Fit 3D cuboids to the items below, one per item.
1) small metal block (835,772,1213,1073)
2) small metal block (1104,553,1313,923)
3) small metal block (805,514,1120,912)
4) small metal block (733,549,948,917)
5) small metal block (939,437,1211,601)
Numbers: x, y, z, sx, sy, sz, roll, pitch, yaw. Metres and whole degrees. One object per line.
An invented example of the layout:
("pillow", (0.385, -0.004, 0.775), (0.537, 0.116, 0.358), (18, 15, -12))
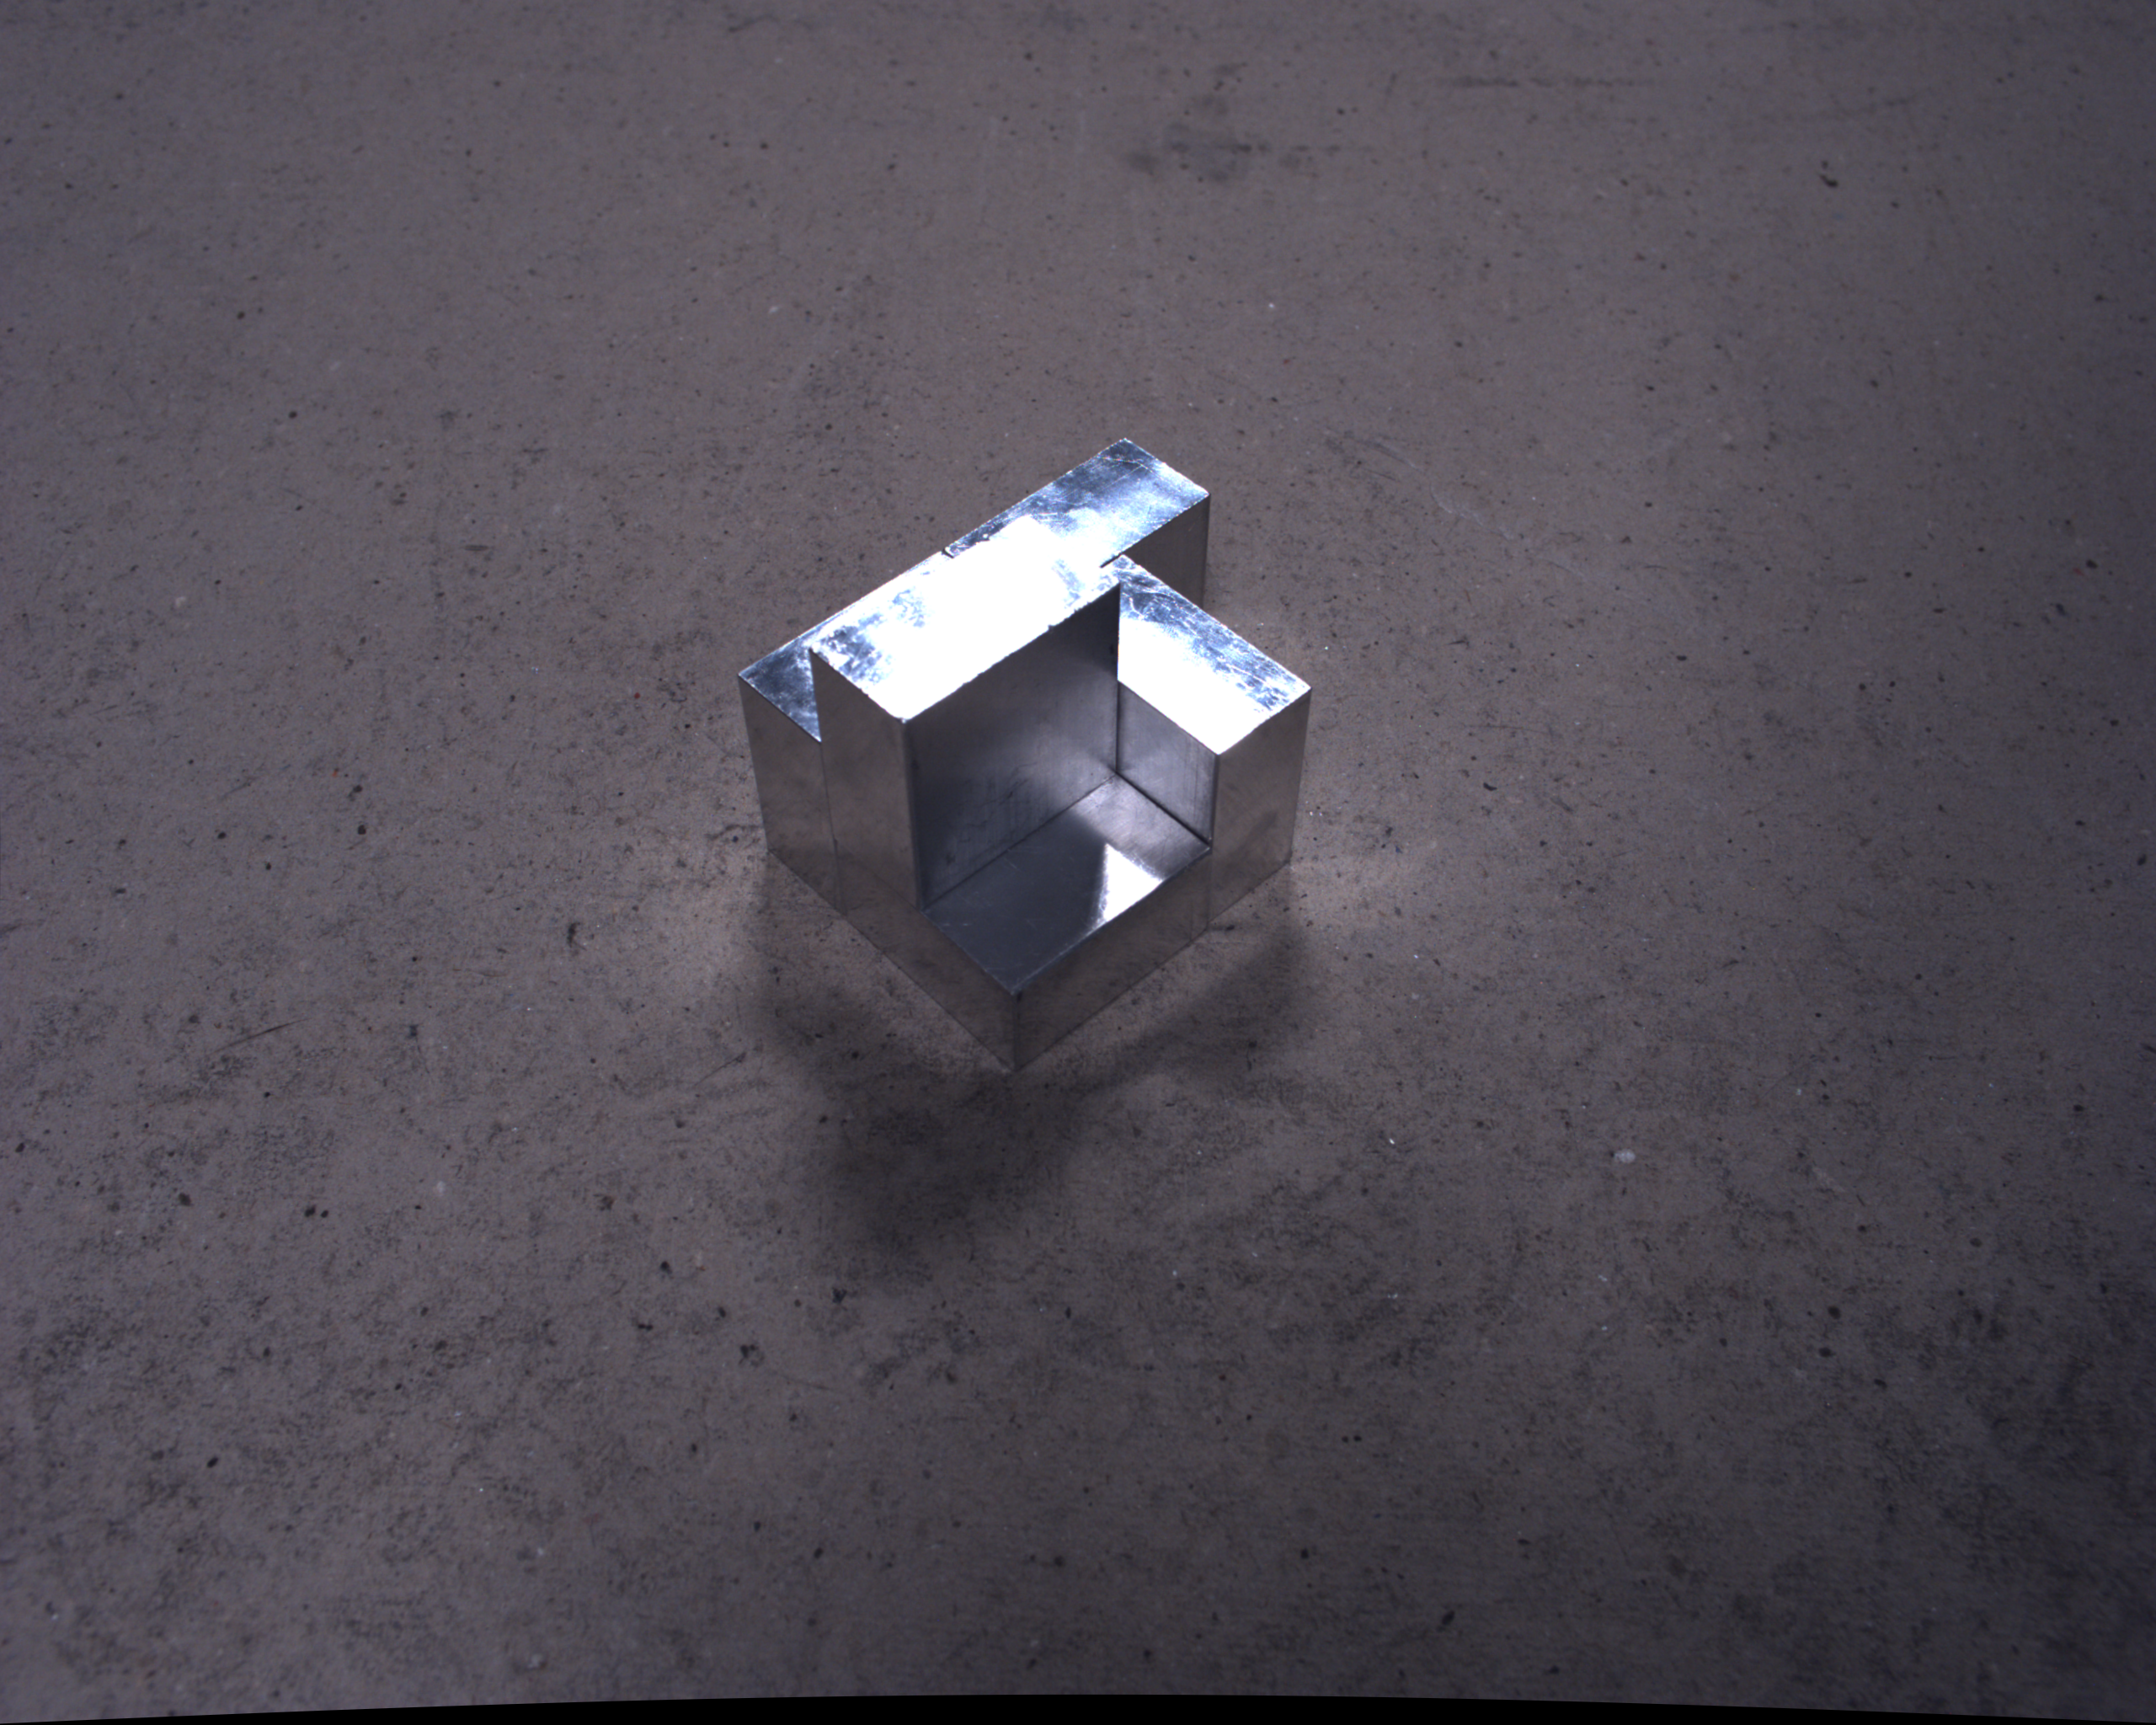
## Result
("small metal block", (-0.010, 0.004, 0.401), (0.050, 0.025, 0.050), (-35, 59, -26))
("small metal block", (0.017, -0.024, 0.408), (0.025, 0.050, 0.050), (-36, 59, -26))
("small metal block", (-0.020, -0.027, 0.378), (0.050, 0.050, 0.025), (-36, 59, -27))
("small metal block", (-0.037, -0.025, 0.409), (0.050, 0.050, 0.025), (-36, 59, -27))
("small metal block", (0.000, -0.052, 0.432), (0.050, 0.050, 0.025), (-36, 59, -27))
